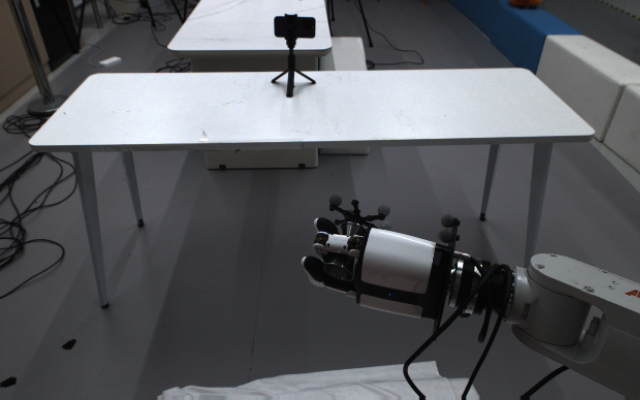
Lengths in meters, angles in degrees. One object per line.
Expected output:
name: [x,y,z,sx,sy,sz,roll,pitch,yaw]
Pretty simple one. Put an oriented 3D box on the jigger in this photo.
jigger: [0.039,0.067,0.644,0.043,0.043,0.071,13,57,15]
